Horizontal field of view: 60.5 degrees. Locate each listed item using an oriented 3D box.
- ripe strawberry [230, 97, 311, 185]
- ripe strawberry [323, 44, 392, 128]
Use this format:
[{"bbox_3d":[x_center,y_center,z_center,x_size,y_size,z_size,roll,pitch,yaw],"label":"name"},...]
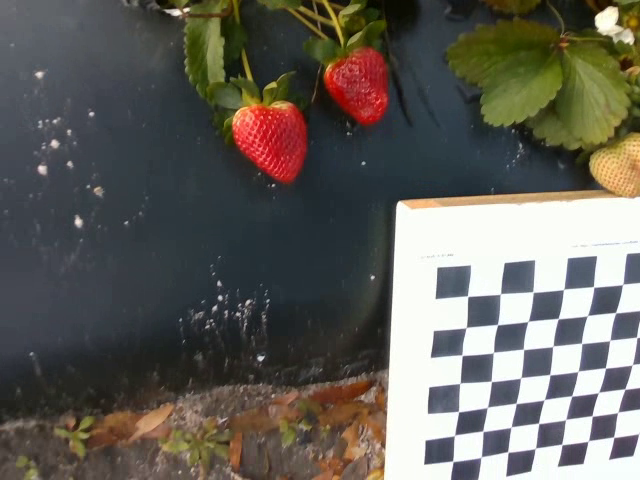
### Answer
[{"bbox_3d":[-0.028,-0.059,0.330,0.050,0.061,0.045,-13,-15,-3],"label":"ripe strawberry"},{"bbox_3d":[0.027,-0.097,0.335,0.042,0.053,0.034,-18,-11,-1],"label":"ripe strawberry"}]
